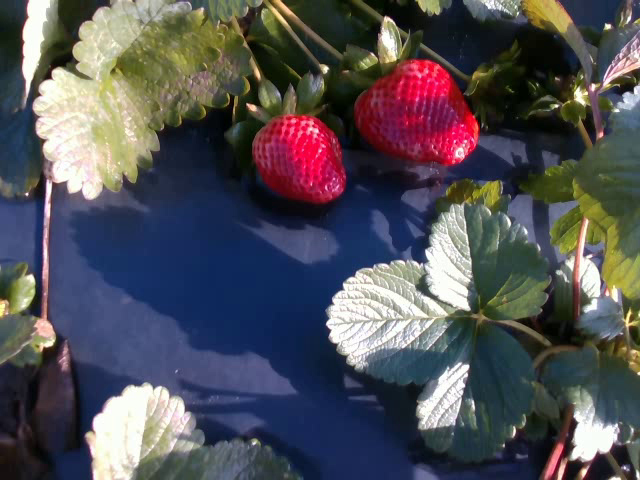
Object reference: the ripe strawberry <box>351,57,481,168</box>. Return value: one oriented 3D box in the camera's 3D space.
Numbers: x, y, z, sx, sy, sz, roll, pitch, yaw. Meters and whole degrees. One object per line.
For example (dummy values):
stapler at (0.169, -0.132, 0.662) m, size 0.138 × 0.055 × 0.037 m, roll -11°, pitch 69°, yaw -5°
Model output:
ripe strawberry at (0.045, -0.049, 0.260) m, size 0.052 × 0.058 × 0.046 m, roll -42°, pitch -30°, yaw 7°

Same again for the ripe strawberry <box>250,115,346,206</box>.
ripe strawberry at (-0.006, -0.029, 0.249) m, size 0.051 × 0.043 × 0.036 m, roll 45°, pitch 11°, yaw 29°
